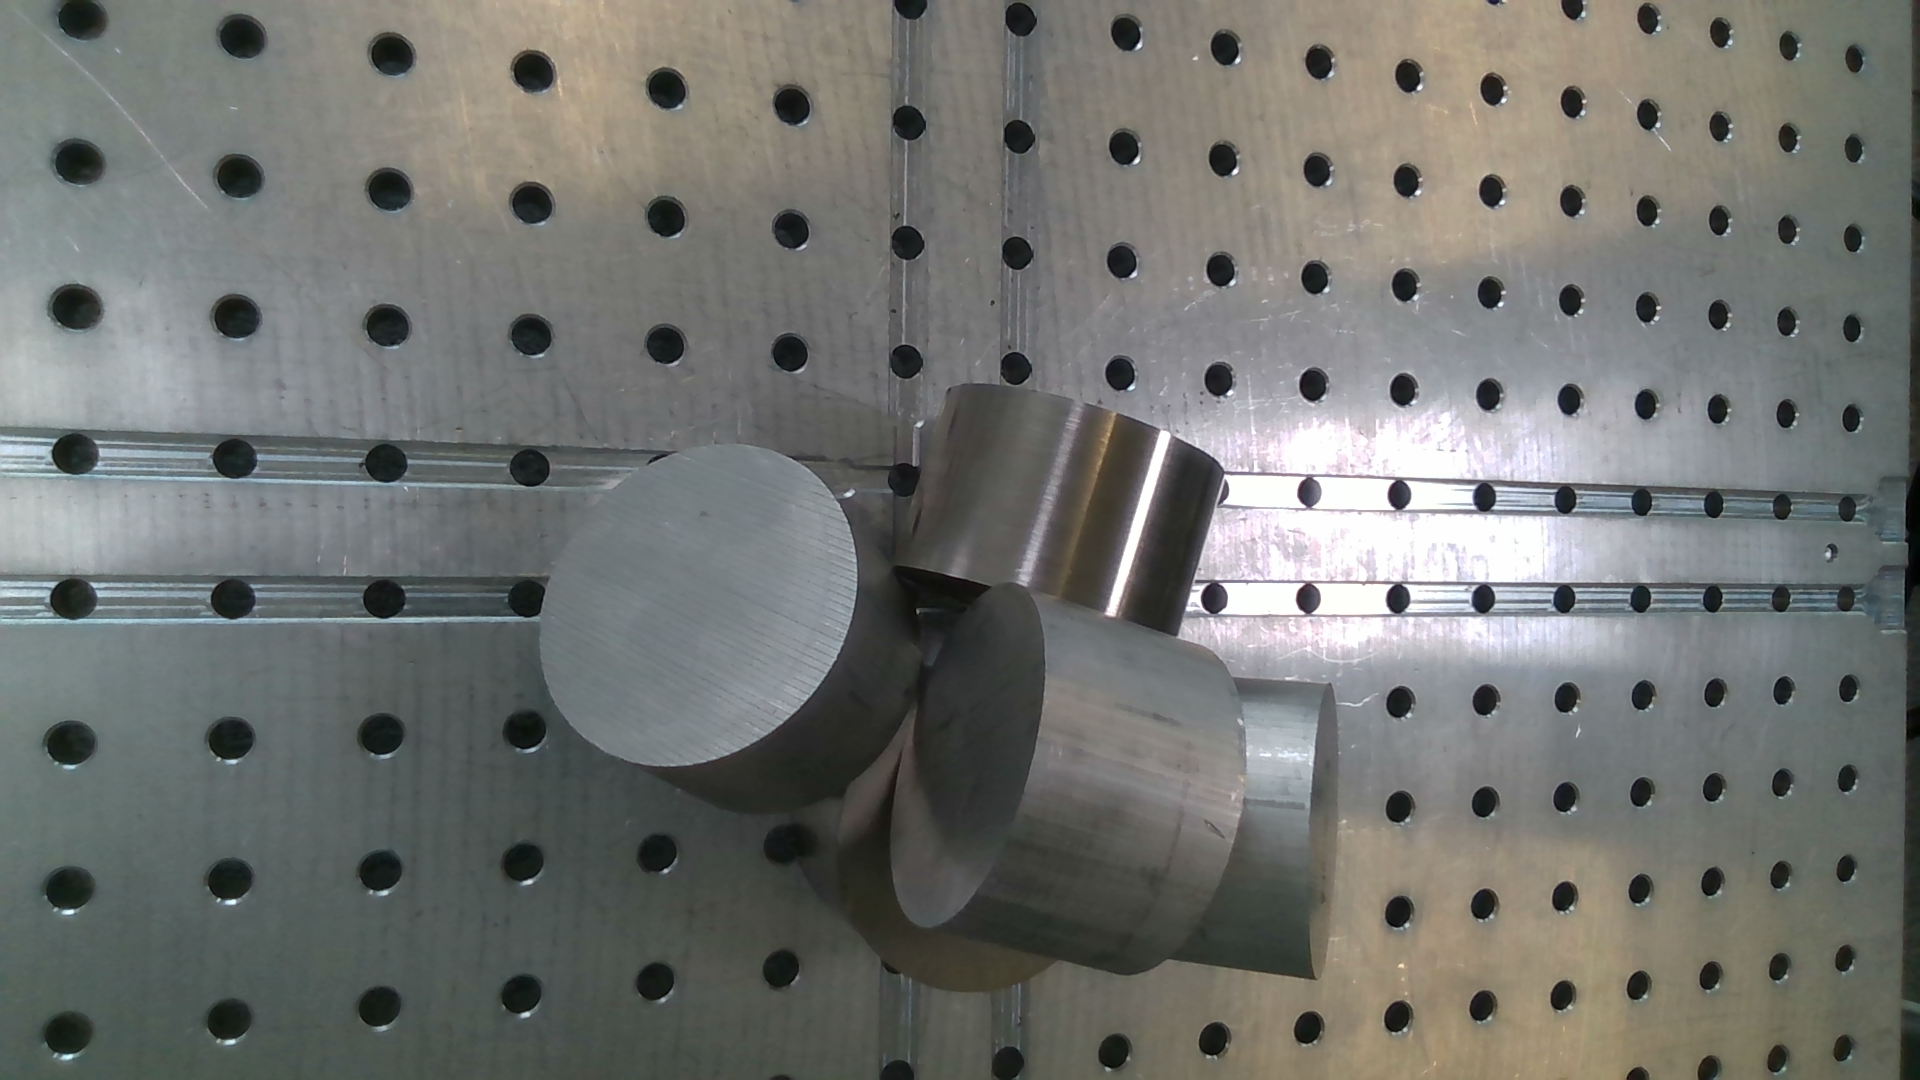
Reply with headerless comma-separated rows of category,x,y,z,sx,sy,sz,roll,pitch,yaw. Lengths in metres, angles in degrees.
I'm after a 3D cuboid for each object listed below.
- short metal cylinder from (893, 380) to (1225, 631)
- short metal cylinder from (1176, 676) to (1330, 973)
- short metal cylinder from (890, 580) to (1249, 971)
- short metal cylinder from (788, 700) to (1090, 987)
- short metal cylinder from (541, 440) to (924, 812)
short metal cylinder,0.026,-0.005,0.377,0.080,0.080,0.050,20,83,-19
short metal cylinder,0.077,0.078,0.388,0.050,0.080,0.080,2,89,20
short metal cylinder,0.023,0.055,0.322,0.050,0.080,0.080,18,84,-19
short metal cylinder,-0.003,0.076,0.381,0.080,0.050,0.080,0,89,-21
short metal cylinder,-0.055,0.022,0.341,0.080,0.050,0.080,-6,65,14
